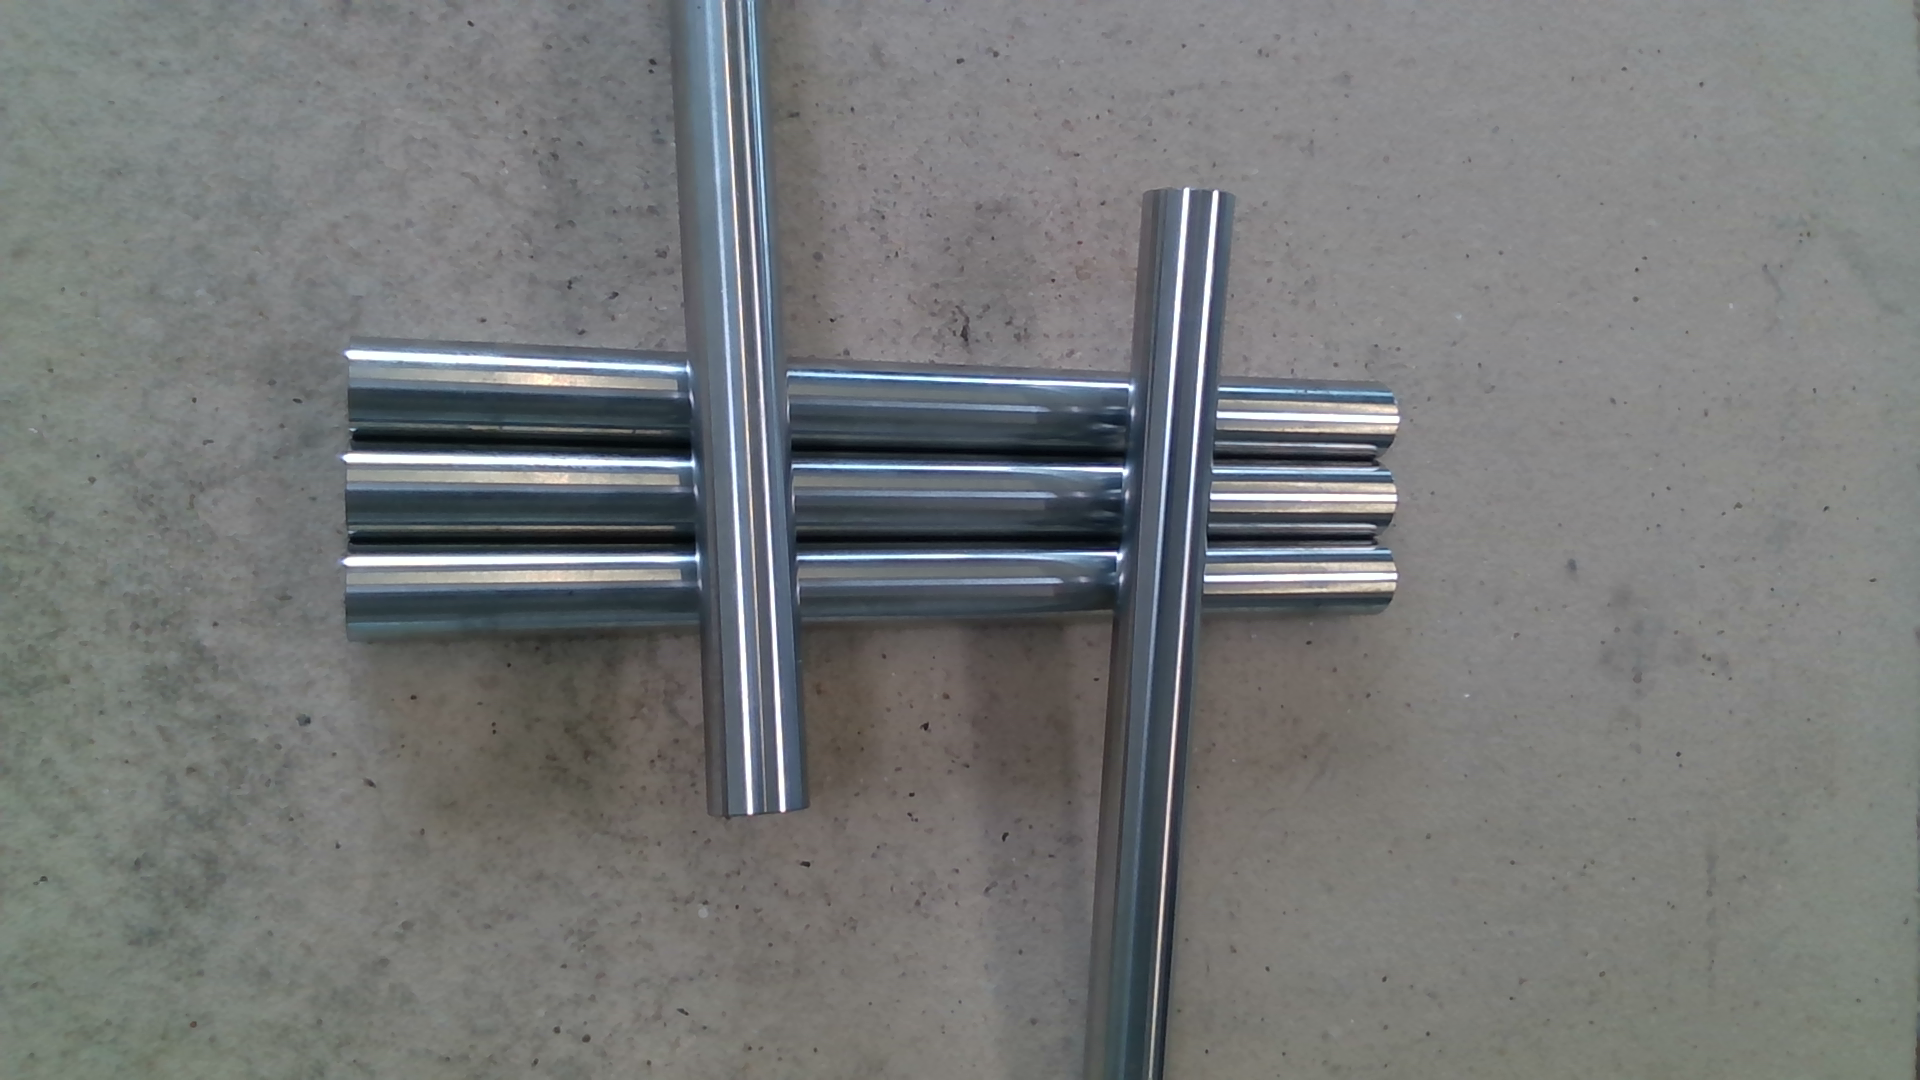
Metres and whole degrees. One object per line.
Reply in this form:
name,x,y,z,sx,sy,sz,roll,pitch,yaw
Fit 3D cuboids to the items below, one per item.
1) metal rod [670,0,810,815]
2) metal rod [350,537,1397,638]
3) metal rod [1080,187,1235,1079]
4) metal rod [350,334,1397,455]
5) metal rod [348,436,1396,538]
metal rod,-0.059,-0.083,0.352,0.025,0.025,0.300,-2,83,-20
metal rod,-0.009,0.012,0.391,0.300,0.025,0.025,0,90,-20
metal rod,0.054,0.054,0.394,0.025,0.025,0.300,1,98,-20
metal rod,-0.008,-0.038,0.390,0.300,0.025,0.025,0,90,-20
metal rod,-0.009,-0.014,0.390,0.300,0.025,0.025,0,90,-20
